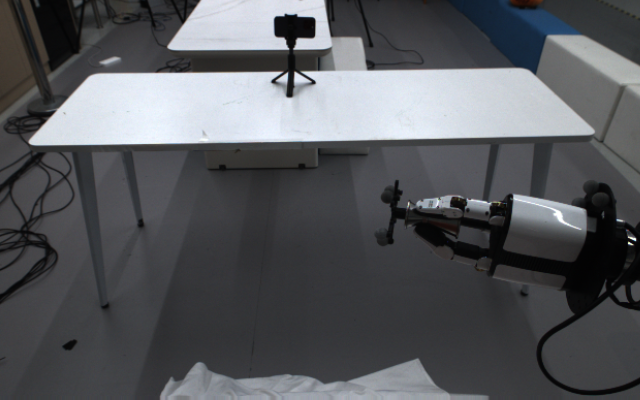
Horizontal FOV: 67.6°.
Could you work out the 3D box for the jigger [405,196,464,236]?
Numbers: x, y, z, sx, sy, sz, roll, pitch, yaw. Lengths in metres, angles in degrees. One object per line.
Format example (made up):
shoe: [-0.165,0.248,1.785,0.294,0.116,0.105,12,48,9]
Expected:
jigger: [0.153,0.020,0.628,0.071,0.043,0.043,8,35,13]
